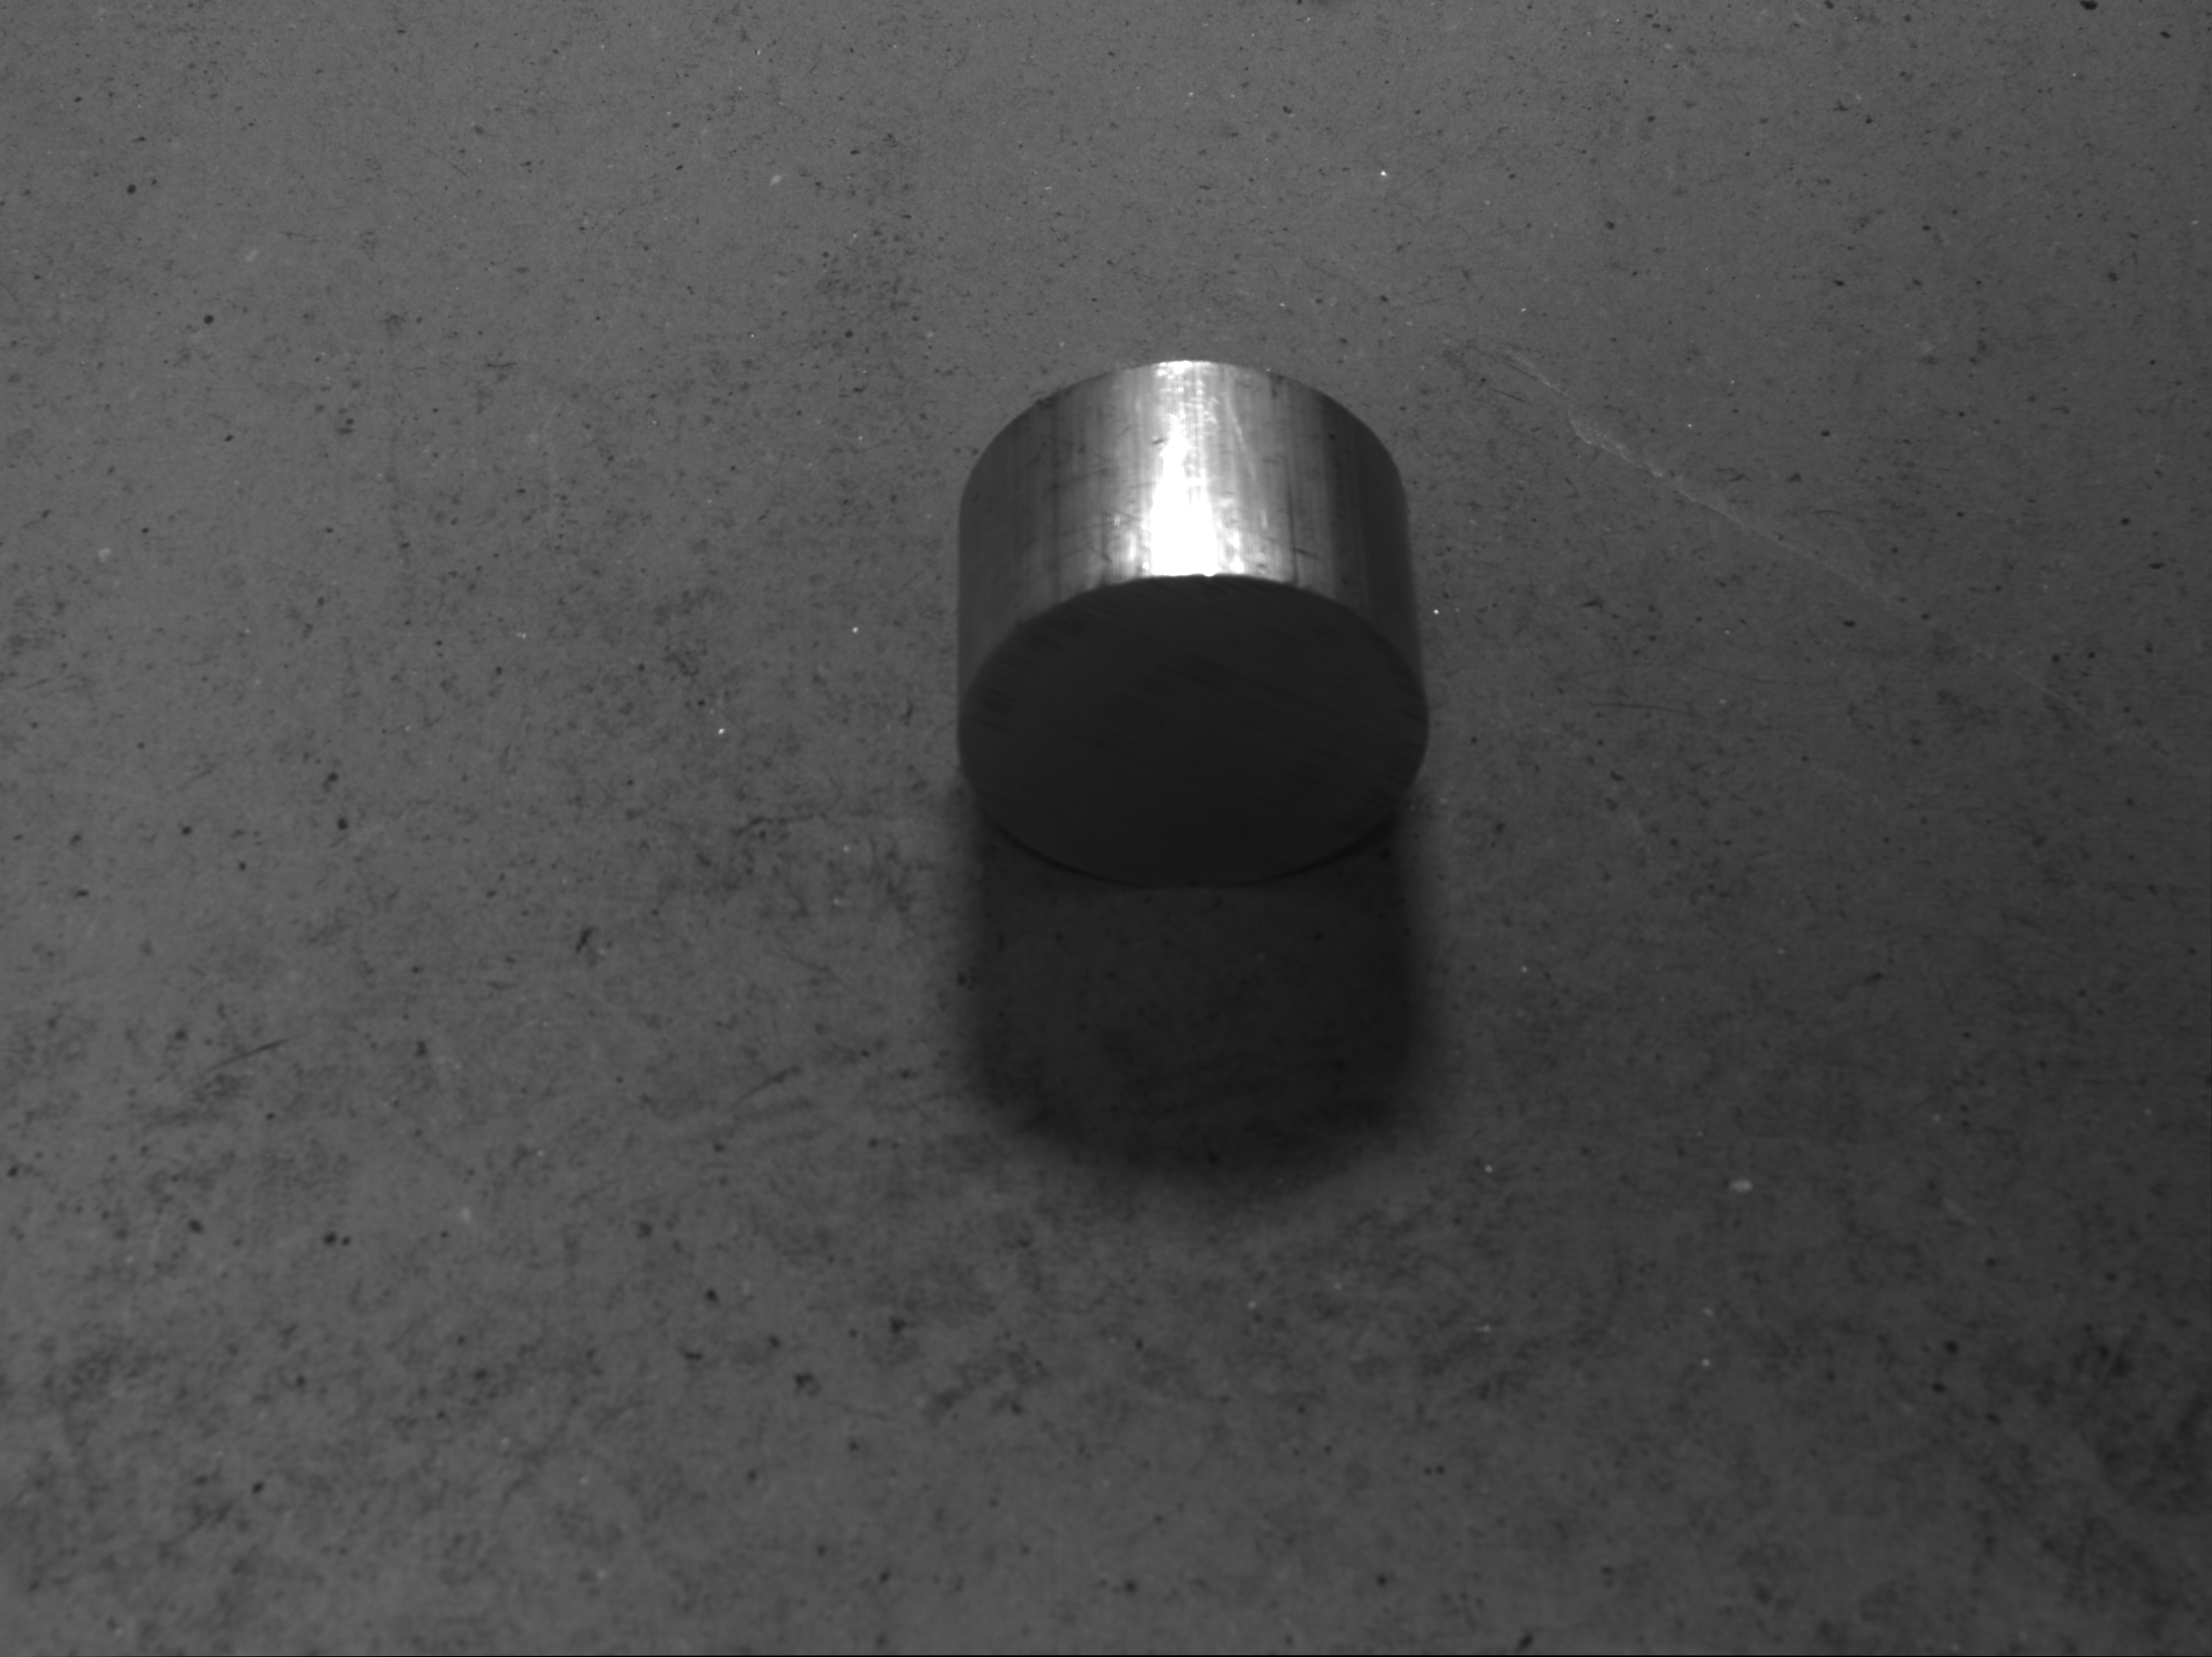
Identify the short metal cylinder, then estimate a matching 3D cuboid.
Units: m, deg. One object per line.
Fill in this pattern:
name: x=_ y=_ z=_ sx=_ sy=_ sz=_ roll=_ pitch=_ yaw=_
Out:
short metal cylinder: x=0.017 y=-0.034 z=0.636 sx=0.080 sy=0.080 sz=0.050 roll=-1 pitch=50 yaw=-1
